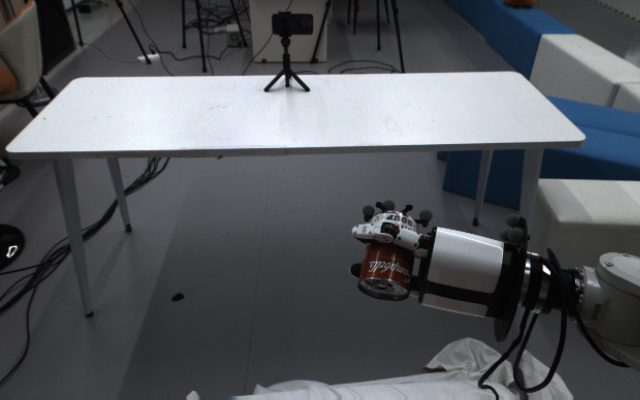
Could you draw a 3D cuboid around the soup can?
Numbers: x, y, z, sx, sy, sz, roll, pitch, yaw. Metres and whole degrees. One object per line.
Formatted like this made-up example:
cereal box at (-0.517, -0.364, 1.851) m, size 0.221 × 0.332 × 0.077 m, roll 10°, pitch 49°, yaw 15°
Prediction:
soup can at (0.093, 0.073, 0.639) m, size 0.067 × 0.067 × 0.101 m, roll 9°, pitch 58°, yaw 10°
